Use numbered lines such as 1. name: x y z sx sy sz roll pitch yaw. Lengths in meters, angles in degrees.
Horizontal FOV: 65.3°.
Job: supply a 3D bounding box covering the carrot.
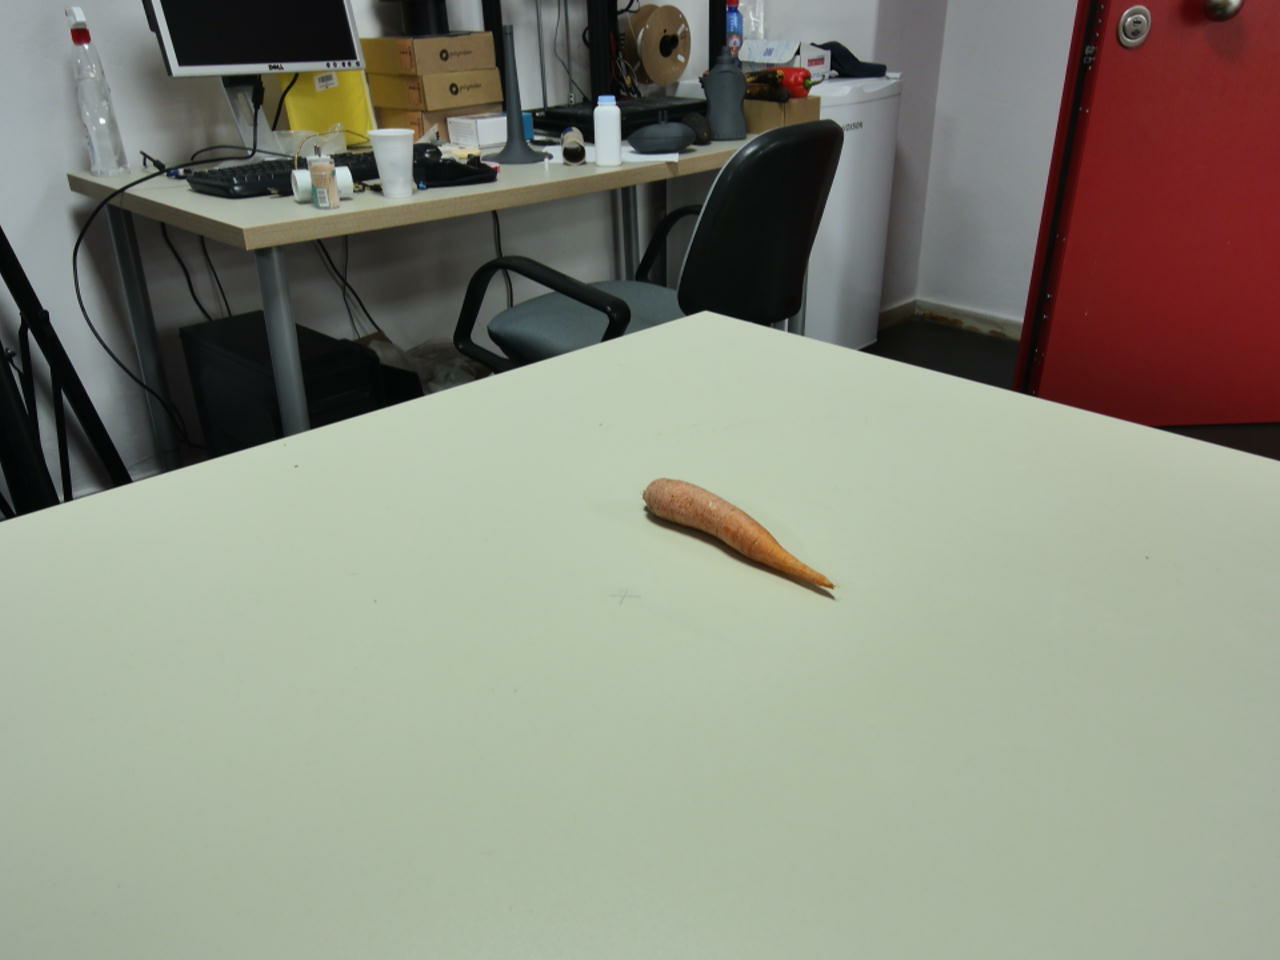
1. carrot: 0.060 0.030 0.628 0.031 0.029 0.163 -20 32 -38
